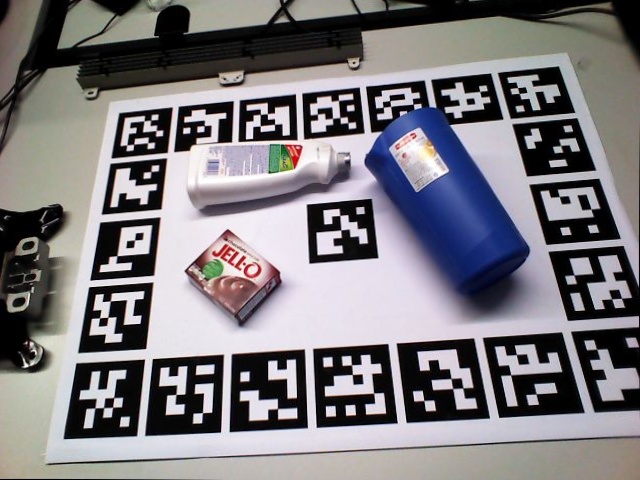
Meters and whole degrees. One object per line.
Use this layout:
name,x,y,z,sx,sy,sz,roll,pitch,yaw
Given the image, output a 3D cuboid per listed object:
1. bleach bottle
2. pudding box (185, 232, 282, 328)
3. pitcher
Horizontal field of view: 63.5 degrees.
bleach bottle,-0.072,-0.107,0.798,0.251,0.068,0.102,-7,67,2
pudding box,-0.124,0.055,0.731,0.114,0.039,0.089,39,68,21
pitcher,0.190,-0.041,0.714,0.188,0.134,0.242,-11,62,-38
